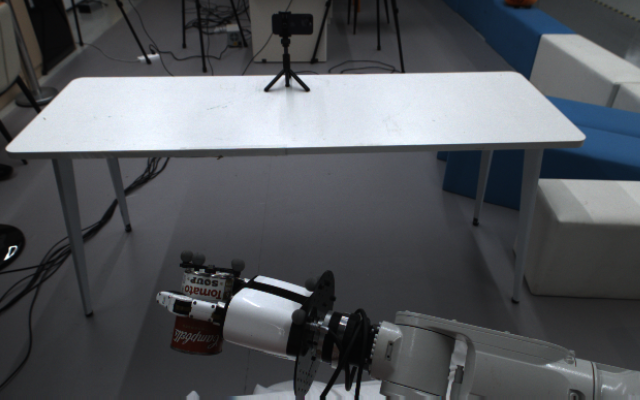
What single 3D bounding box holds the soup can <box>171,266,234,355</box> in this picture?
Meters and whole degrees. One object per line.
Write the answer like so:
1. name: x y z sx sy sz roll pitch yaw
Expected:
1. soup can: -0.153 0.146 0.637 0.067 0.101 0.067 9 -6 1
